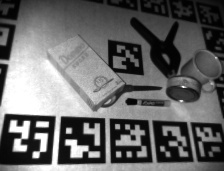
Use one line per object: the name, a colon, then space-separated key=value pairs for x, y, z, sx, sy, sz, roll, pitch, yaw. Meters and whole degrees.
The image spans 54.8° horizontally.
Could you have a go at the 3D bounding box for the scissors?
scissors: x=0.042 y=-0.001 z=0.559 sx=0.205 sy=0.016 sz=0.087 roll=-6 pitch=67 yaw=-22

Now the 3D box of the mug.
mug: x=0.247 y=-0.038 z=0.612 sx=0.094 sy=0.081 sz=0.116 roll=-23 pitch=74 yaw=-24

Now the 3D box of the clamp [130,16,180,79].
clamp: x=0.150 y=-0.119 z=0.645 sx=0.167 sy=0.036 sz=0.202 roll=-6 pitch=72 yaw=-20

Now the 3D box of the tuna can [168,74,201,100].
tuna can: x=0.192 y=0.005 z=0.571 sx=0.086 sy=0.085 sz=0.034 roll=20 pitch=64 yaw=-9

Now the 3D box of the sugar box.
sugar box: x=-0.058 y=-0.036 z=0.523 sx=0.093 sy=0.045 sz=0.175 roll=-34 pitch=76 yaw=-26

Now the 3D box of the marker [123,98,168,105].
marker: x=0.086 y=0.041 z=0.559 sx=0.122 sy=0.019 sz=0.019 roll=1 pitch=70 yaw=-17
